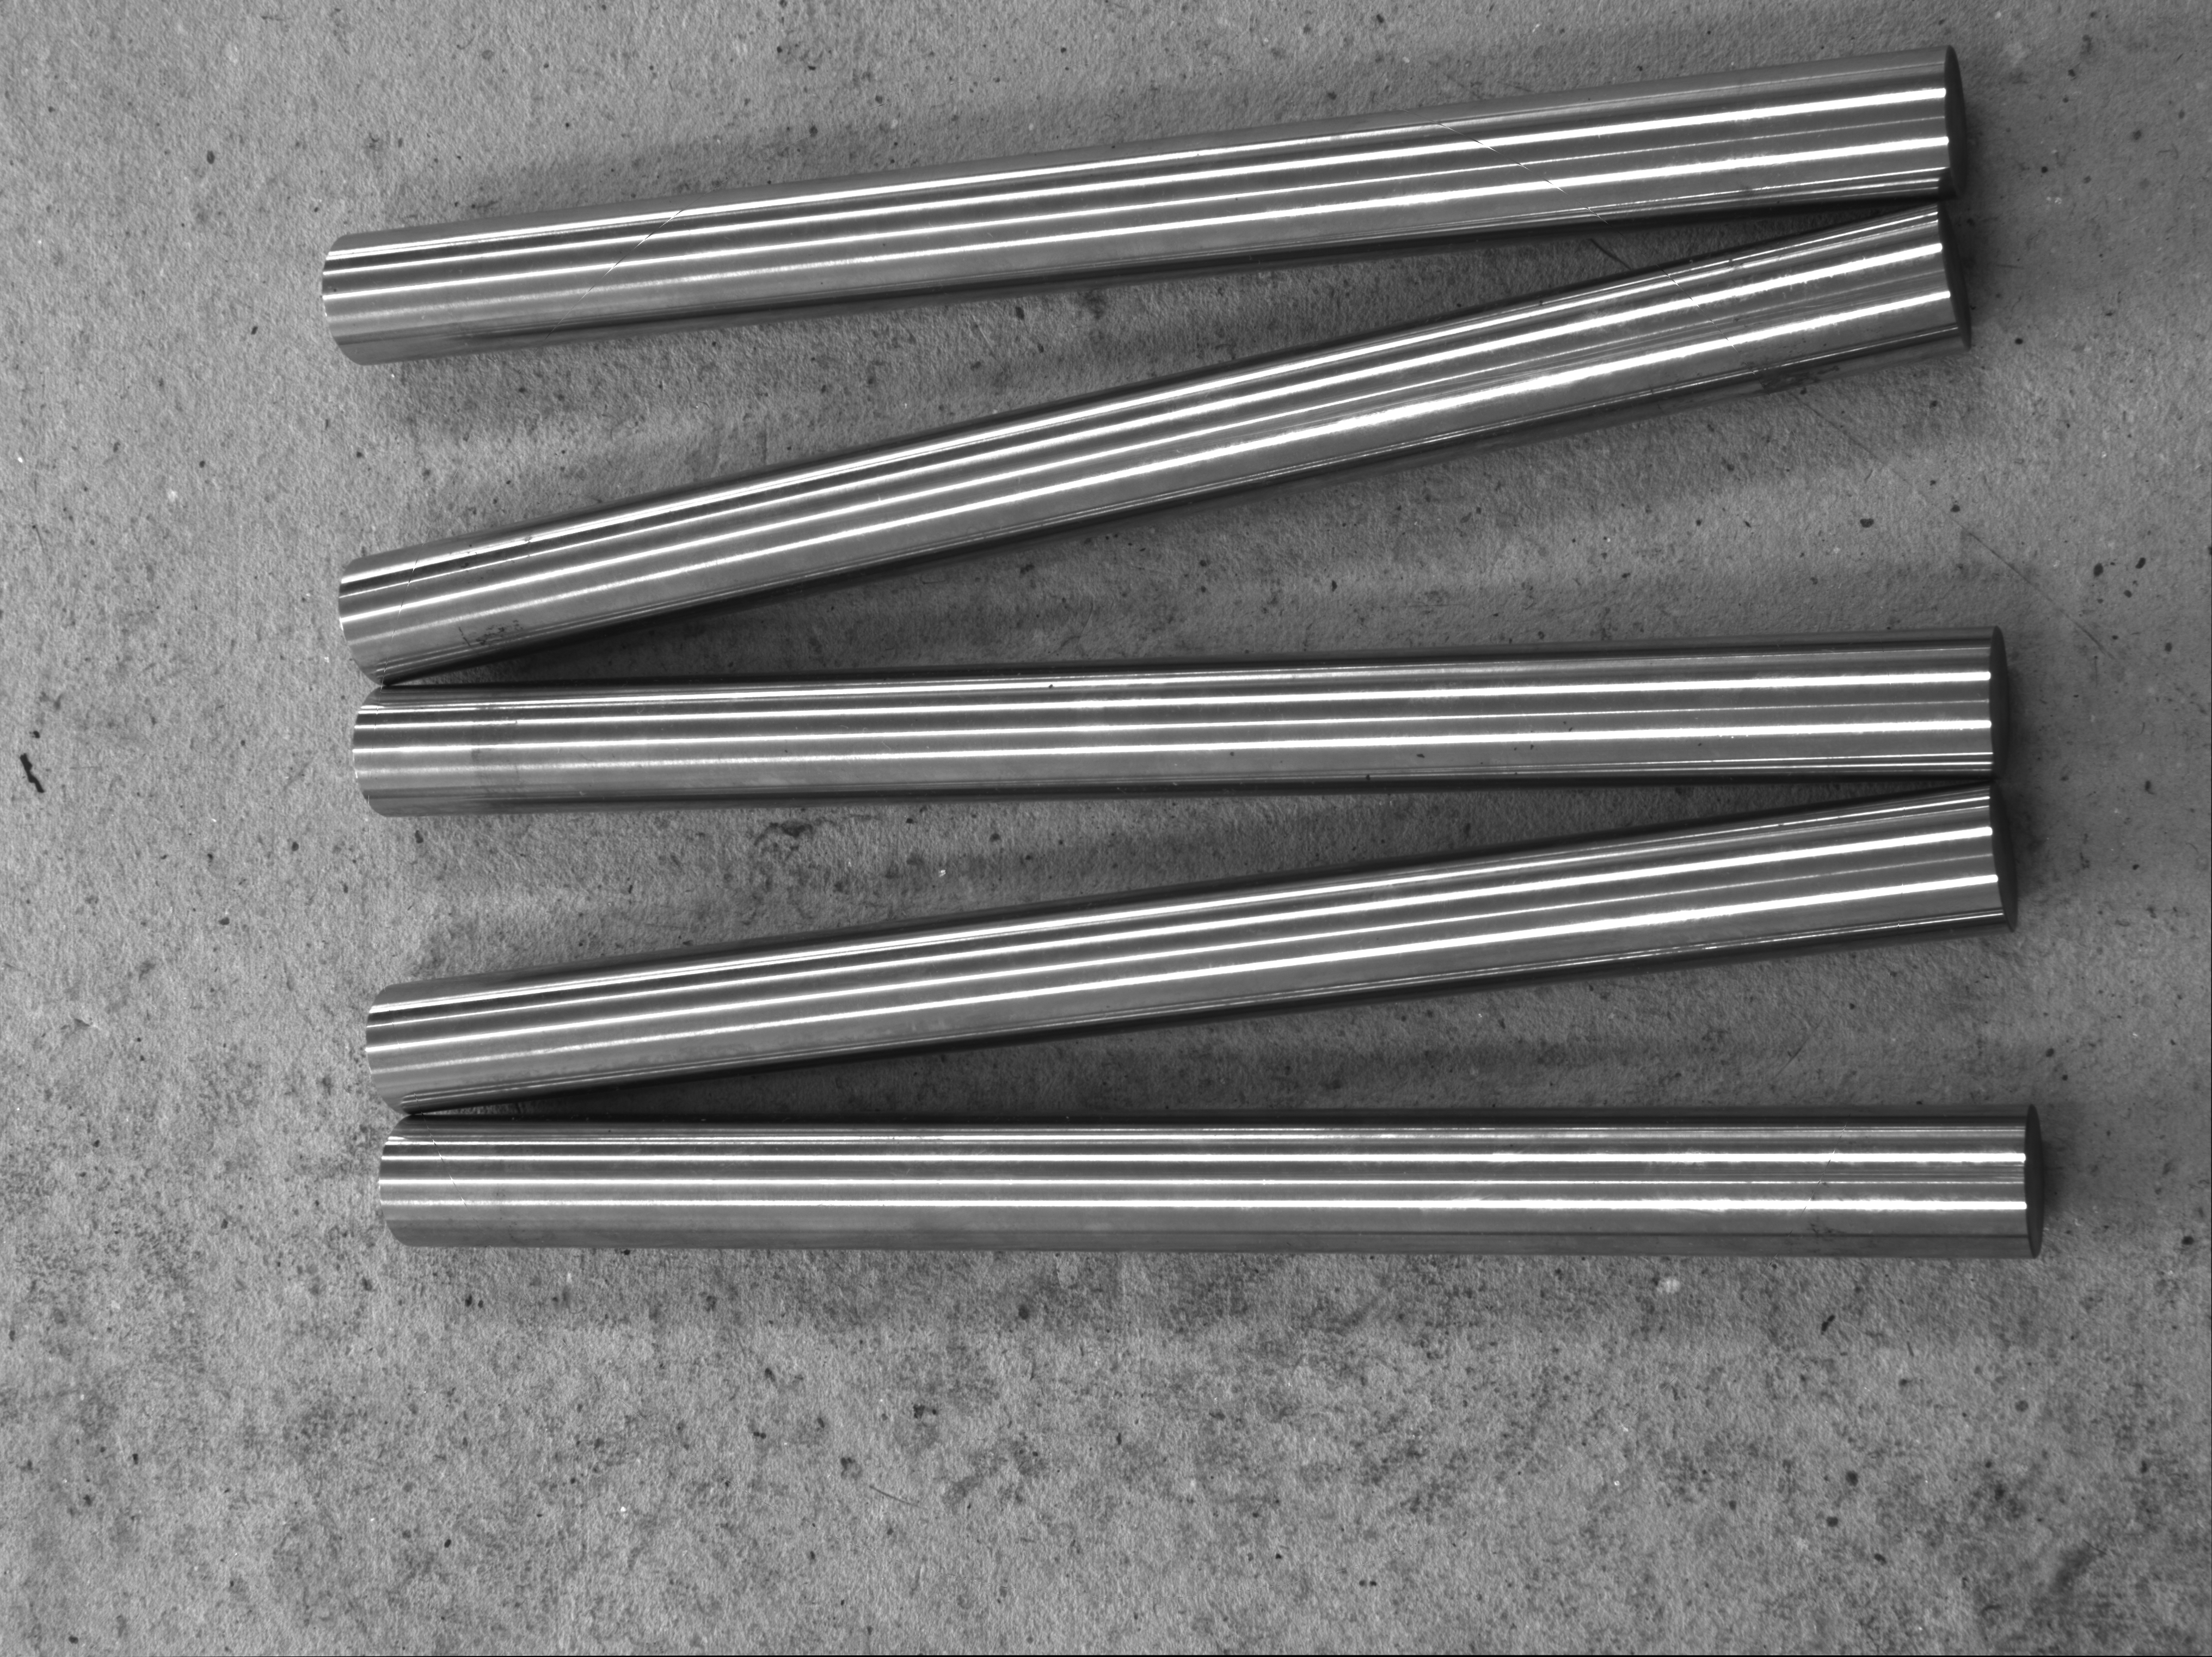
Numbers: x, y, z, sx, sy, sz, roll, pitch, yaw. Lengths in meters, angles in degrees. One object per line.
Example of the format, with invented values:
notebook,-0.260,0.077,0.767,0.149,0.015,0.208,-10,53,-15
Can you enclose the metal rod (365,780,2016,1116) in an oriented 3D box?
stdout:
metal rod,0.006,0.023,0.644,0.299,0.025,0.025,-8,87,20

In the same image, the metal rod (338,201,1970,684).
metal rod,0.000,-0.065,0.647,0.299,0.025,0.025,-10,86,20

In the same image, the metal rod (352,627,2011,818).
metal rod,0.004,-0.017,0.645,0.299,0.025,0.025,-1,89,20

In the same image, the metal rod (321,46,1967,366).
metal rod,-0.002,-0.108,0.647,0.299,0.025,0.025,-3,89,20

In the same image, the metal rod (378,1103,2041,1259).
metal rod,0.010,0.062,0.643,0.299,0.025,0.025,-2,89,20
